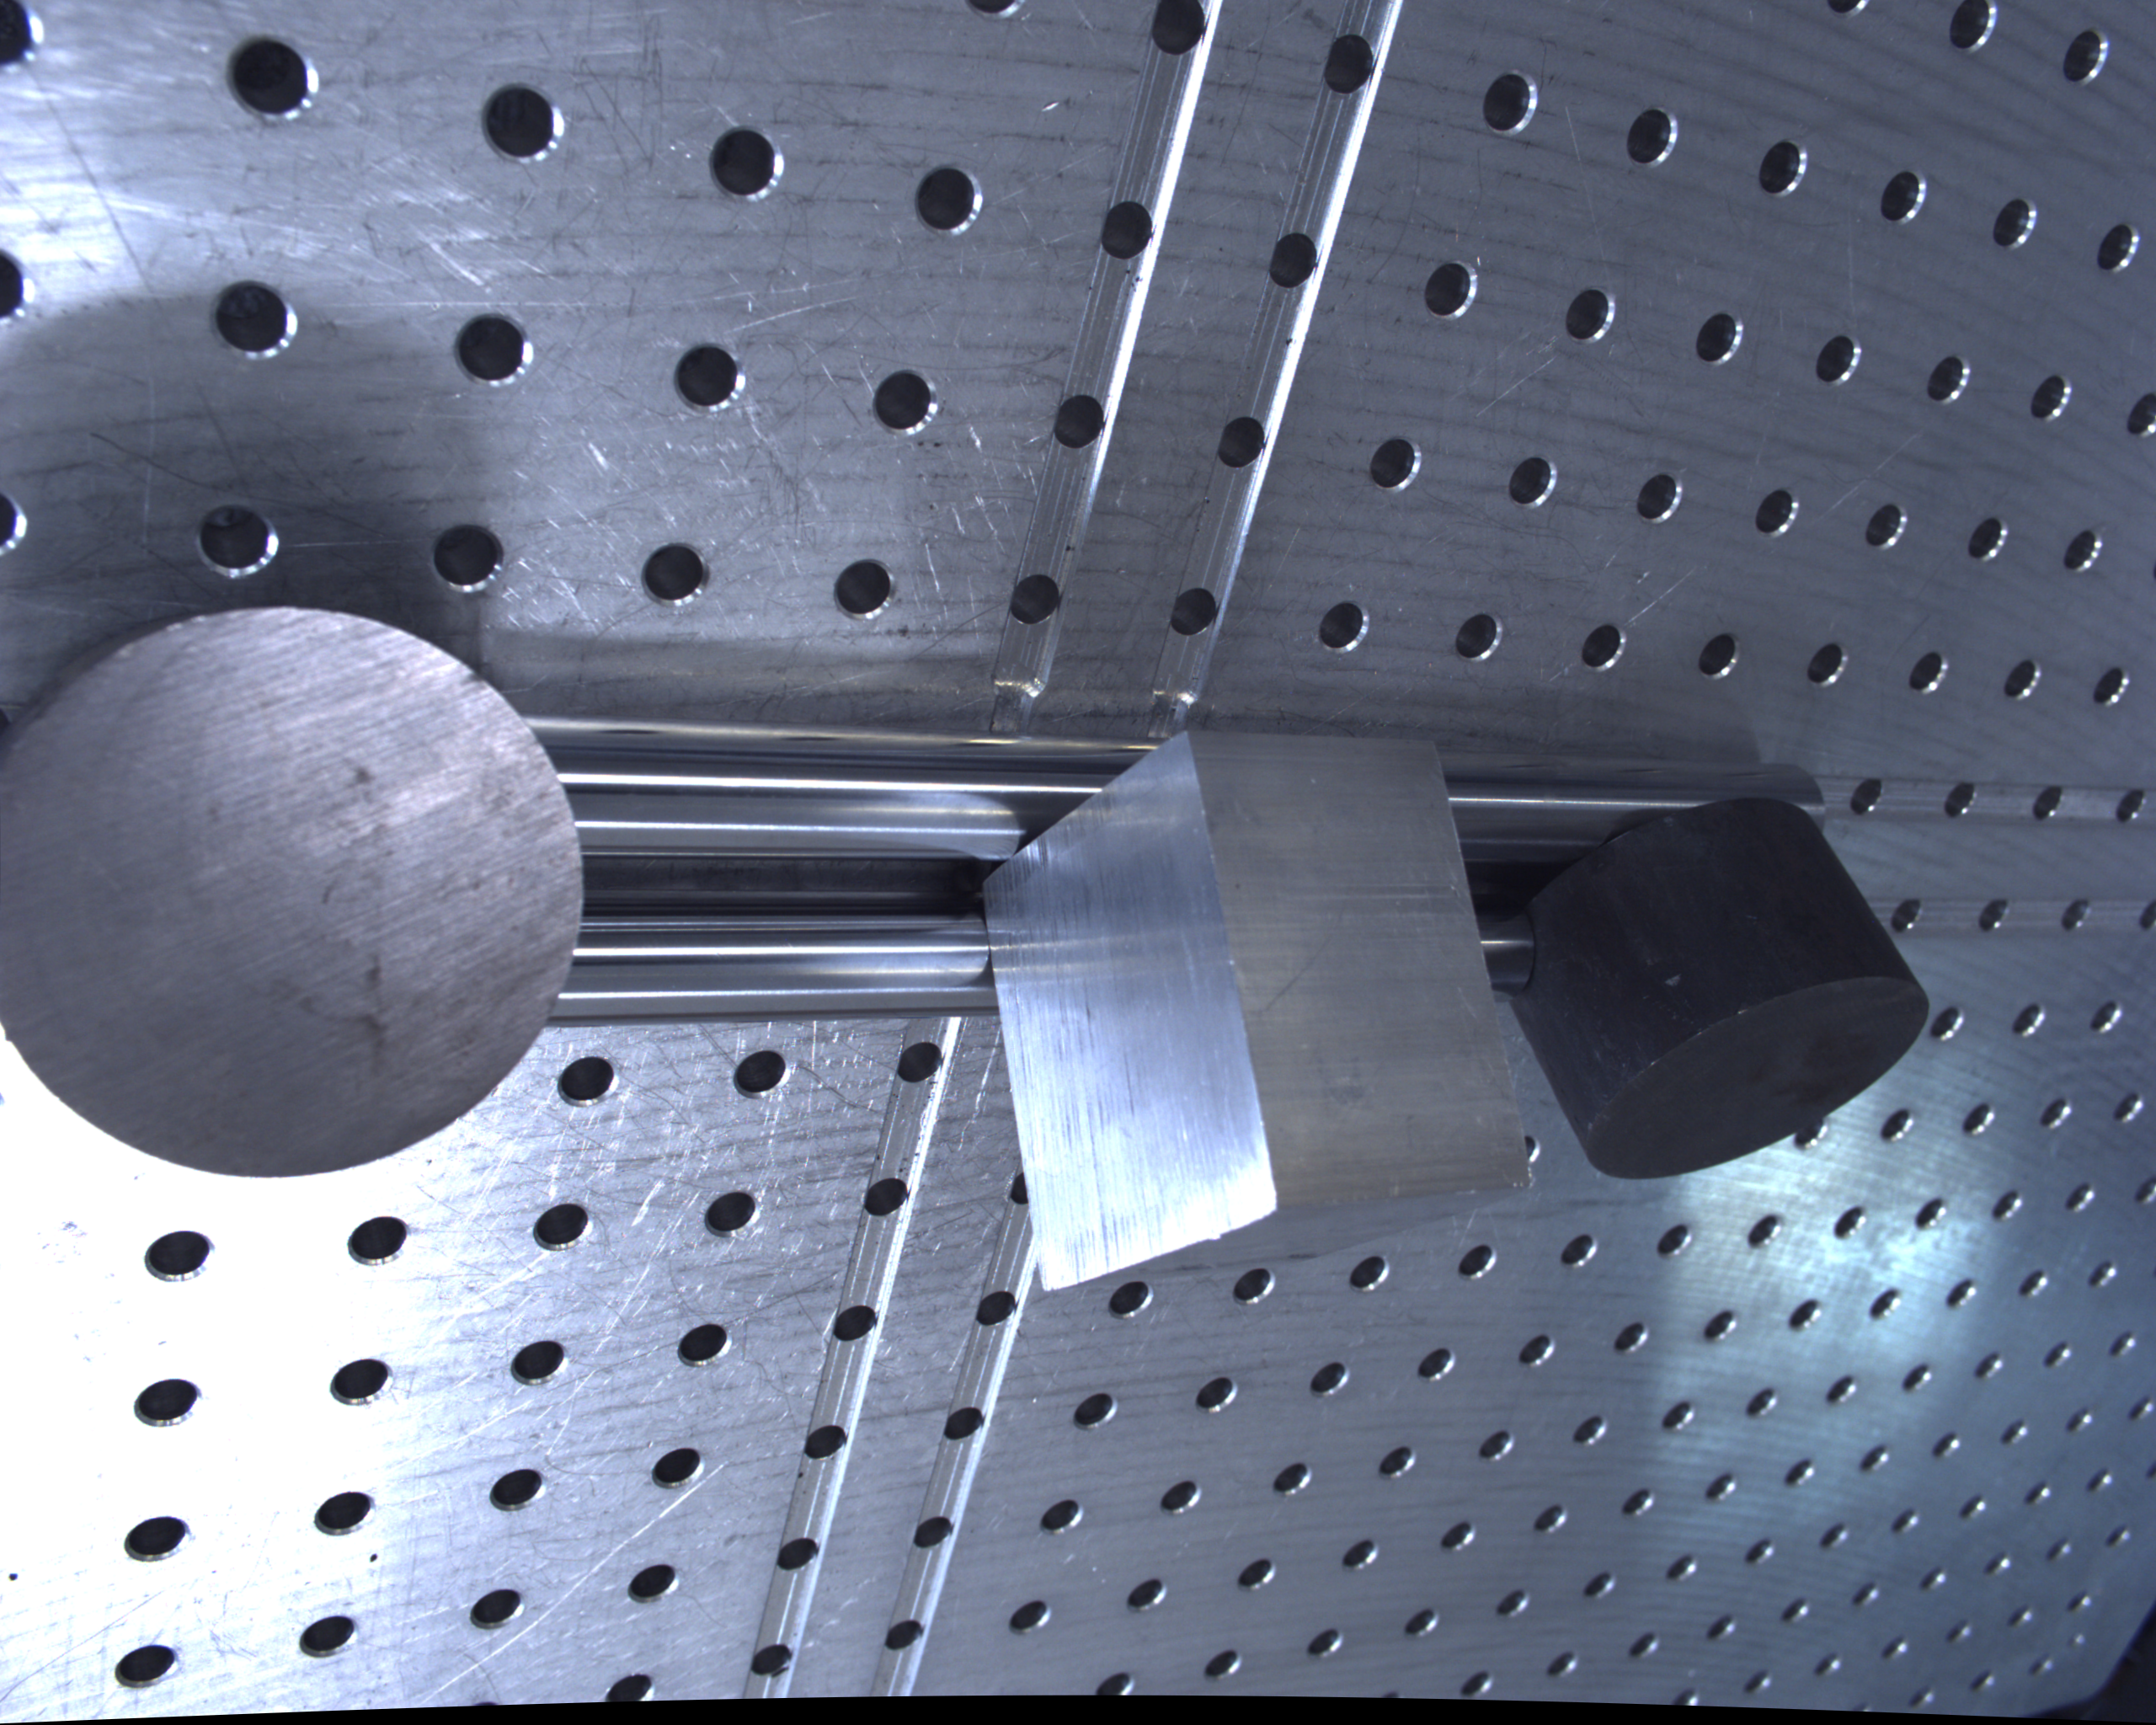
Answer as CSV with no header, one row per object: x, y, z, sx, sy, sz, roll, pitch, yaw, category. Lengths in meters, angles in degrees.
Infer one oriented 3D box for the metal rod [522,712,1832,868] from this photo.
0.037,-0.012,0.423,0.303,0.025,0.025,1,118,-29,metal rod

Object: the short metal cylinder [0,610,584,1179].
-0.121,0.002,0.312,0.081,0.050,0.079,-4,97,-28,short metal cylinder

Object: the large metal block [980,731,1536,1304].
0.028,0.030,0.370,0.050,0.080,0.080,1,160,-29,large metal block

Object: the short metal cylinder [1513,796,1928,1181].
0.142,0.030,0.474,0.081,0.050,0.080,-14,145,-10,short metal cylinder

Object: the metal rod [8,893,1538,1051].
-0.036,0.018,0.402,0.303,0.025,0.025,0,118,-29,metal rod
